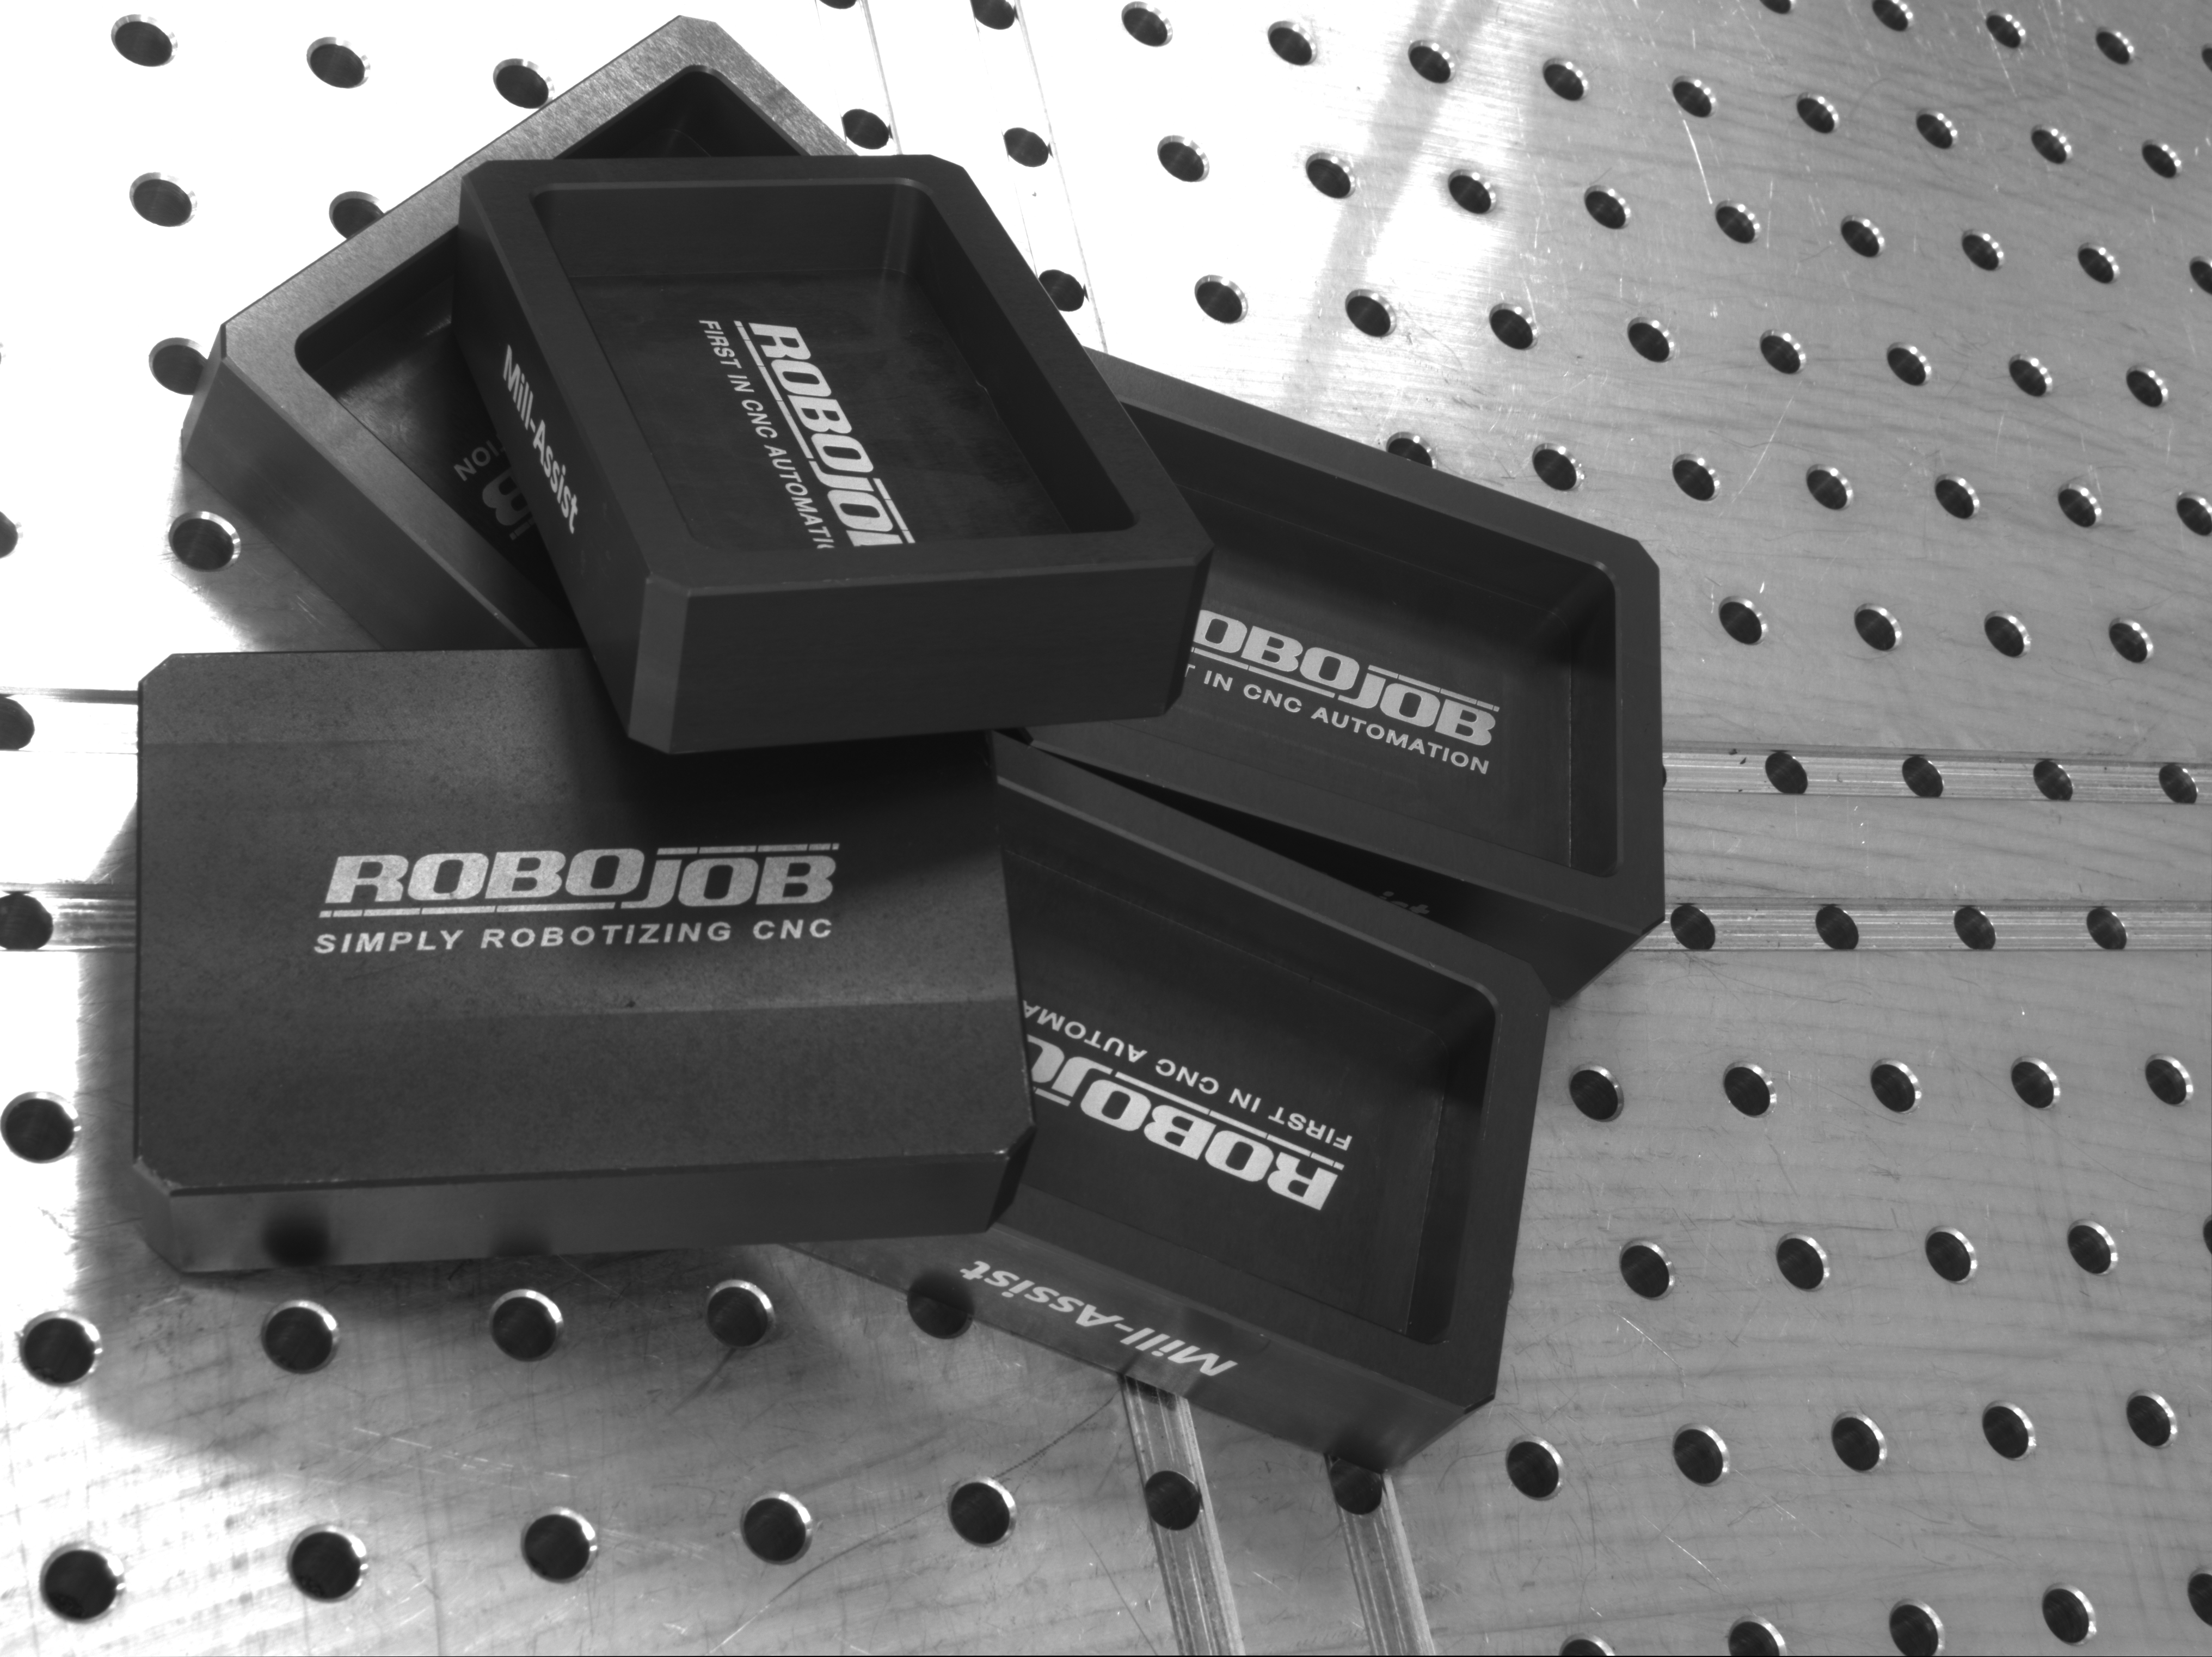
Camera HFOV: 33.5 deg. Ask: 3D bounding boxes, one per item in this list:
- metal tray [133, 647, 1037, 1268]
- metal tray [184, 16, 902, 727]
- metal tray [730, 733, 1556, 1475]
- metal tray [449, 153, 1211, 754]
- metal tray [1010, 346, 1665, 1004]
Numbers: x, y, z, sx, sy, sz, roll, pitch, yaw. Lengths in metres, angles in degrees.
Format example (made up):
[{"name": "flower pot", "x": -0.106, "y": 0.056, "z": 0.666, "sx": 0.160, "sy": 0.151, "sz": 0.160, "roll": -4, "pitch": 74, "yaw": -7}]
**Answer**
[{"name": "metal tray", "x": -0.081, "y": 0.018, "z": 0.563, "sx": 0.130, "sy": 0.030, "sz": 0.090, "roll": 0, "pitch": 62, "yaw": -12}, {"name": "metal tray", "x": -0.083, "y": -0.077, "z": 0.641, "sx": 0.090, "sy": 0.030, "sz": 0.130, "roll": 42, "pitch": 51, "yaw": 2}, {"name": "metal tray", "x": 0.008, "y": 0.043, "z": 0.616, "sx": 0.130, "sy": 0.030, "sz": 0.090, "roll": 23, "pitch": 54, "yaw": -14}, {"name": "metal tray", "x": -0.048, "y": -0.065, "z": 0.598, "sx": 0.090, "sy": 0.030, "sz": 0.130, "roll": -5, "pitch": 40, "yaw": -22}, {"name": "metal tray", "x": 0.039, "y": -0.028, "z": 0.676, "sx": 0.130, "sy": 0.030, "sz": 0.090, "roll": 17, "pitch": 56, "yaw": -18}]
